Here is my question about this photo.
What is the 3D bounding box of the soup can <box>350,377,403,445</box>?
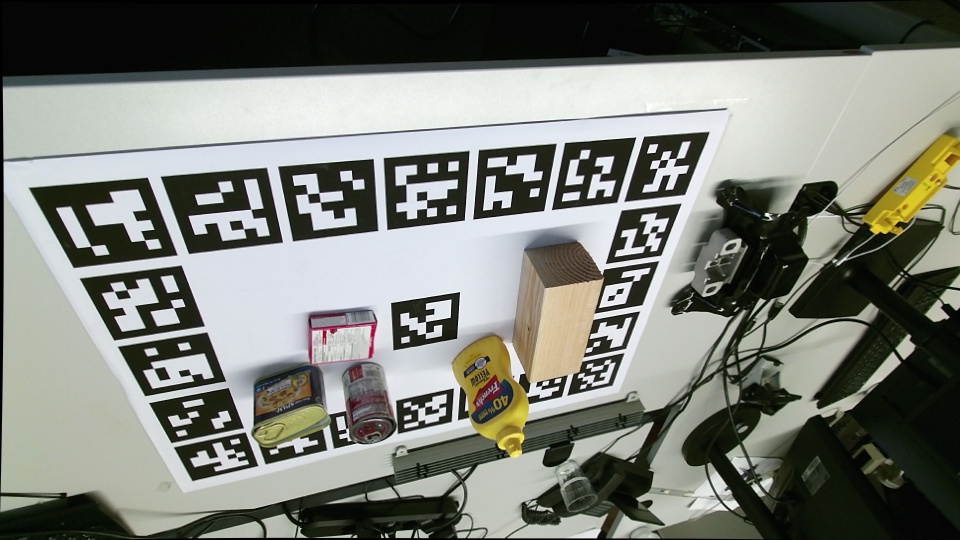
[{"bbox_3d":[-0.156,0.221,0.806,0.068,0.101,0.068,-12,130,-14],"label":"soup can"}]

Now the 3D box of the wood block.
[{"bbox_3d":[0.126,0.082,0.827,0.091,0.089,0.206,-7,134,-15],"label":"wood block"}]

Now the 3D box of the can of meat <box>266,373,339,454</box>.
[{"bbox_3d":[-0.253,0.206,0.778,0.102,0.083,0.058,-18,132,-5],"label":"can of meat"}]

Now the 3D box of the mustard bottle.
[{"bbox_3d":[0.039,0.206,0.832,0.096,0.190,0.058,-27,134,2],"label":"mustard bottle"}]

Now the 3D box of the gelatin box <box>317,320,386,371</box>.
[{"bbox_3d":[-0.181,0.108,0.756,0.090,0.030,0.073,-2,126,-25],"label":"gelatin box"}]
